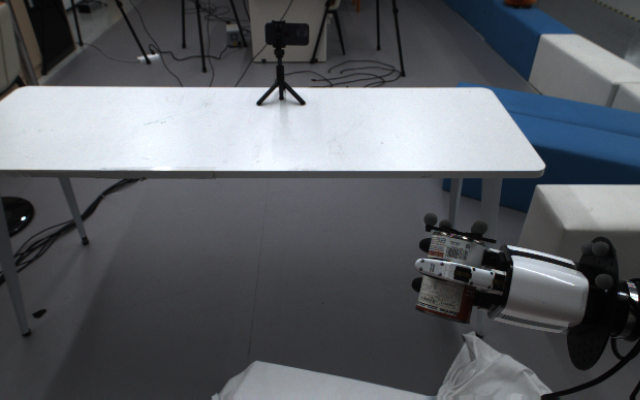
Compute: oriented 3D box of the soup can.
[{"bbox_3d":[0.165,0.094,0.611,0.067,0.101,0.067,14,-6,2],"label":"soup can"}]
